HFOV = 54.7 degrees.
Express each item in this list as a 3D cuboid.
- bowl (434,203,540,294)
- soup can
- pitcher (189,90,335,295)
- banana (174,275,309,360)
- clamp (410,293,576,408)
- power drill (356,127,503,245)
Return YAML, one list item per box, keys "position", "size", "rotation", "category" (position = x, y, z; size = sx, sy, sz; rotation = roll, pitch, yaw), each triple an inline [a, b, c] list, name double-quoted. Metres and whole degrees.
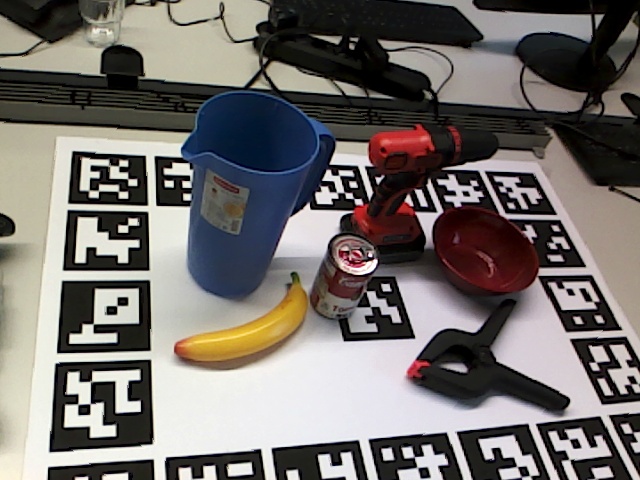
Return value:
- position: [0.235, 0.023, 0.908]
  size: [0.161, 0.055, 0.162]
  rotation: [8, 50, -10]
  category: "bowl"
- position: [0.033, 0.042, 0.798]
  size: [0.068, 0.102, 0.068]
  rotation: [8, 40, -8]
  category: "soup can"
- position: [-0.077, -0.050, 0.747]
  size: [0.188, 0.242, 0.134]
  rotation: [-23, 57, -32]
  category: "pitcher"
- position: [-0.082, 0.103, 0.754]
  size: [0.196, 0.039, 0.075]
  rotation: [-23, 52, -34]
  category: "banana"
- position: [0.211, 0.148, 0.796]
  size: [0.202, 0.036, 0.166]
  rotation: [-3, 55, -20]
  category: "clamp"
- position: [0.139, -0.074, 0.848]
  size: [0.184, 0.187, 0.057]
  rotation: [-4, 52, -22]
  category: "power drill"
